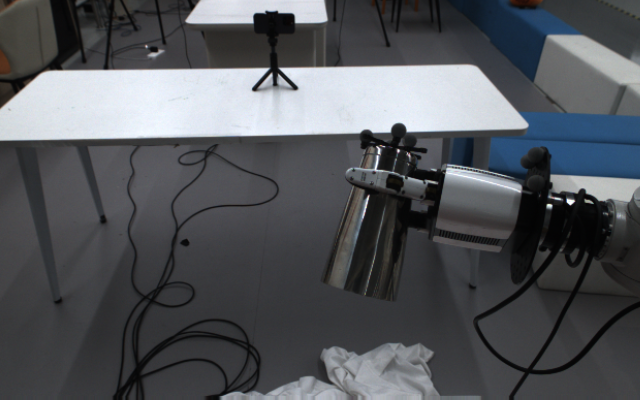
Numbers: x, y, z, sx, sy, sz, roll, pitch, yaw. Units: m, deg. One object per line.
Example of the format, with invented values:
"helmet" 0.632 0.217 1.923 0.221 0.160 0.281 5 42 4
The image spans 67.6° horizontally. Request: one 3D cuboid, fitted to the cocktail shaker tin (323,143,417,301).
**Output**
"cocktail shaker tin" 0.068 0.023 0.583 0.093 0.170 0.093 15 -5 1
